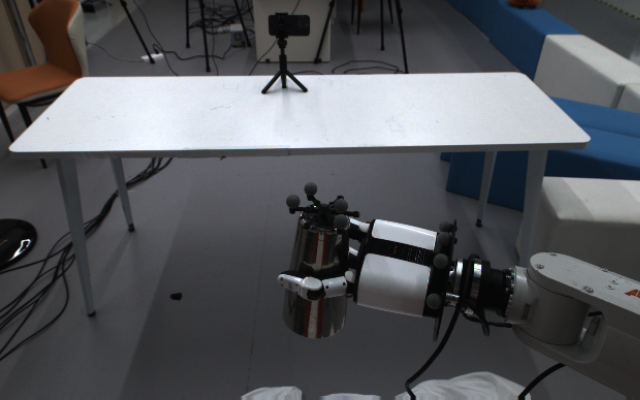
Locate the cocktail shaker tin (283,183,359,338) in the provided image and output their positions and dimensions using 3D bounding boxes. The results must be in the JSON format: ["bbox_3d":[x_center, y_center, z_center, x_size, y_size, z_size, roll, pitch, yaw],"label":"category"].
[{"bbox_3d":[-0.001,0.092,0.653,0.093,0.170,0.093,4,32,-2],"label":"cocktail shaker tin"}]
